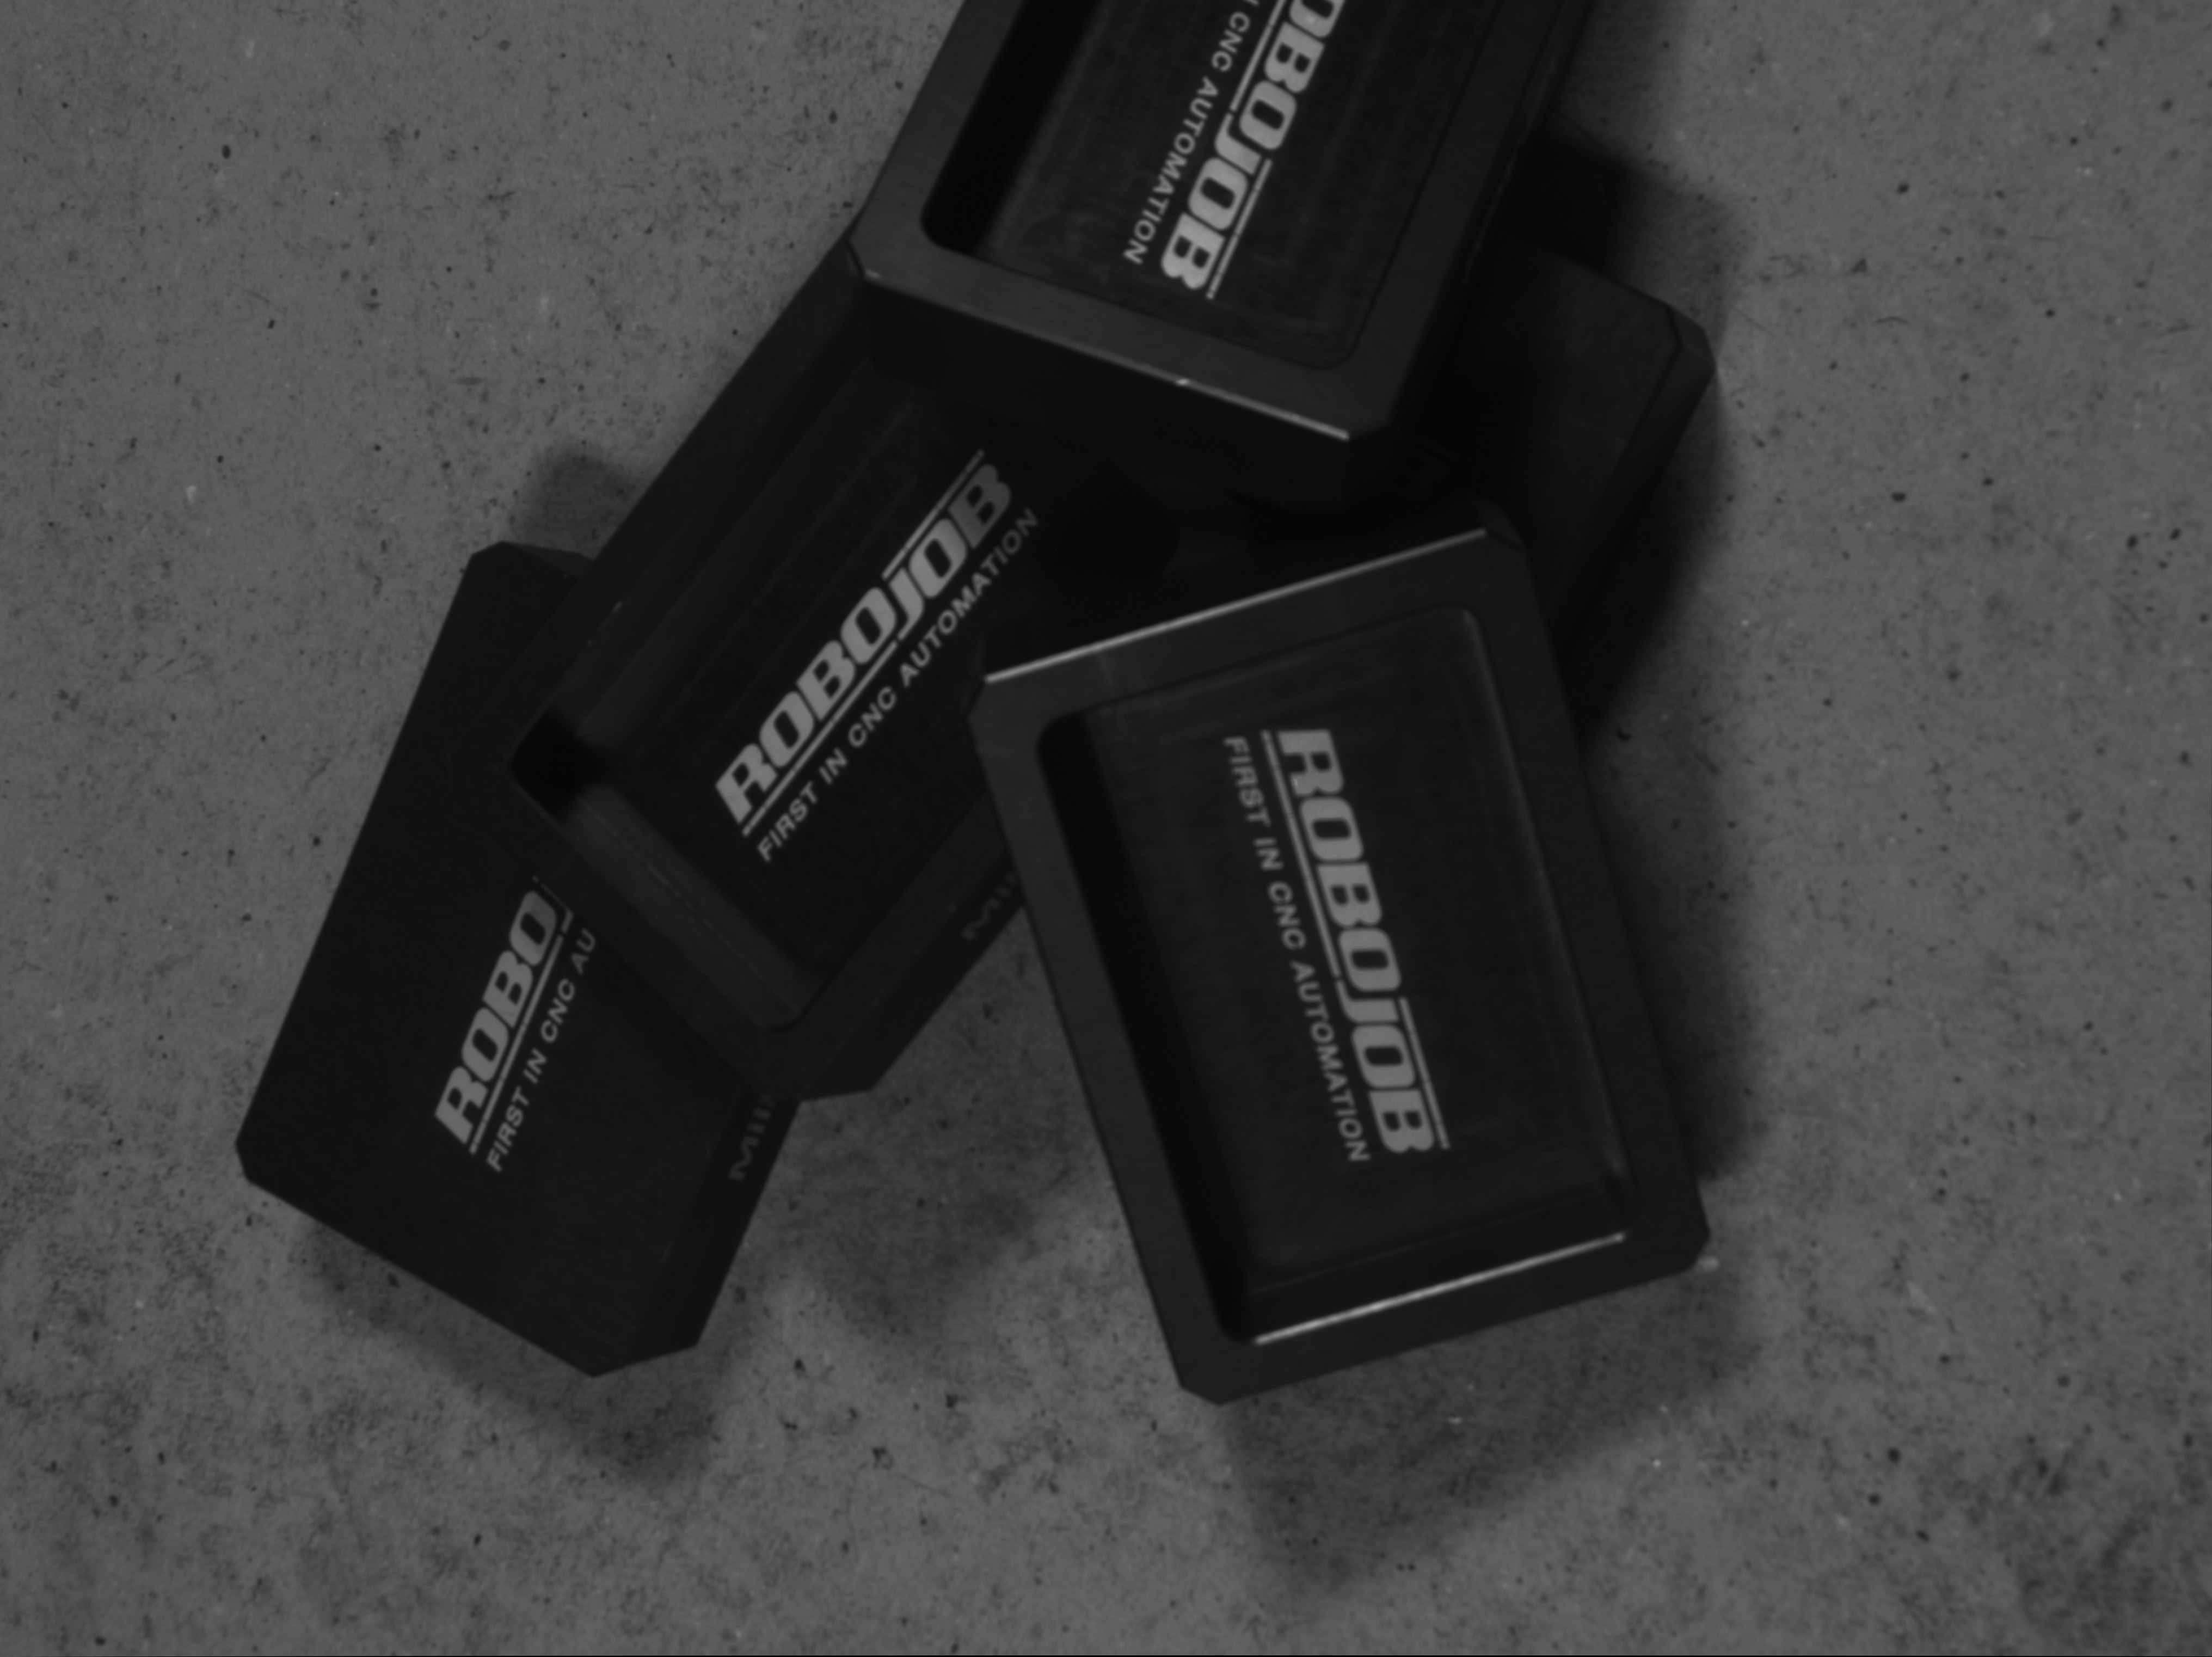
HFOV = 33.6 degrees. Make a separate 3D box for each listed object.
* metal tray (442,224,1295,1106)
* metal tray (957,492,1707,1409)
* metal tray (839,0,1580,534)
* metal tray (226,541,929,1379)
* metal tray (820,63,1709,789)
[{"bbox_3d":[-0.042,-0.028,0.625,0.090,0.030,0.130,43,103,15],"label":"metal tray"},{"bbox_3d":[0.037,0.021,0.592,0.090,0.030,0.130,-17,108,3],"label":"metal tray"},{"bbox_3d":[0.022,-0.121,0.598,0.090,0.030,0.130,20,69,9],"label":"metal tray"},{"bbox_3d":[-0.098,0.023,0.676,0.090,0.030,0.130,26,98,18],"label":"metal tray"},{"bbox_3d":[0.026,-0.072,0.633,0.130,0.030,0.090,28,99,17],"label":"metal tray"}]
